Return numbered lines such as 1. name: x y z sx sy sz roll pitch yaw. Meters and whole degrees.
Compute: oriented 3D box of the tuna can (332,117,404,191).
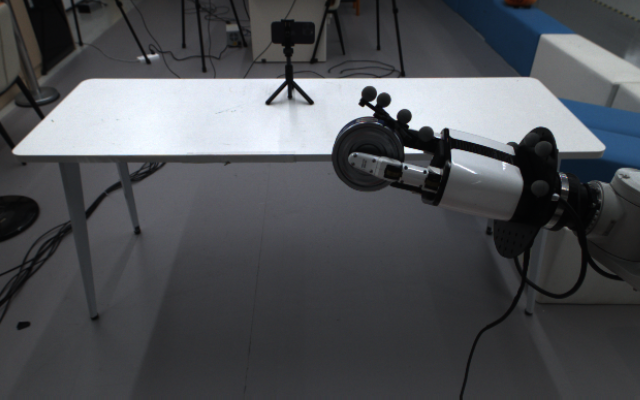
1. tuna can: 0.061 -0.048 0.572 0.085 0.085 0.034 7 19 6
